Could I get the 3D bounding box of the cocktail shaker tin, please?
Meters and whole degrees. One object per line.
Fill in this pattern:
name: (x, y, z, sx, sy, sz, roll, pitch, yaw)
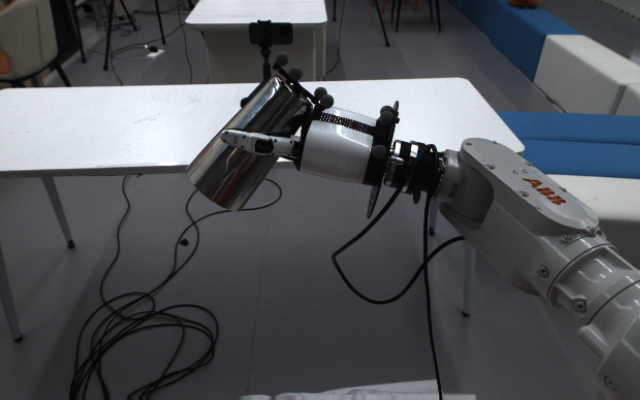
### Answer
cocktail shaker tin: (-0.088, -0.083, 0.639, 0.093, 0.170, 0.093, 41, 12, -11)
